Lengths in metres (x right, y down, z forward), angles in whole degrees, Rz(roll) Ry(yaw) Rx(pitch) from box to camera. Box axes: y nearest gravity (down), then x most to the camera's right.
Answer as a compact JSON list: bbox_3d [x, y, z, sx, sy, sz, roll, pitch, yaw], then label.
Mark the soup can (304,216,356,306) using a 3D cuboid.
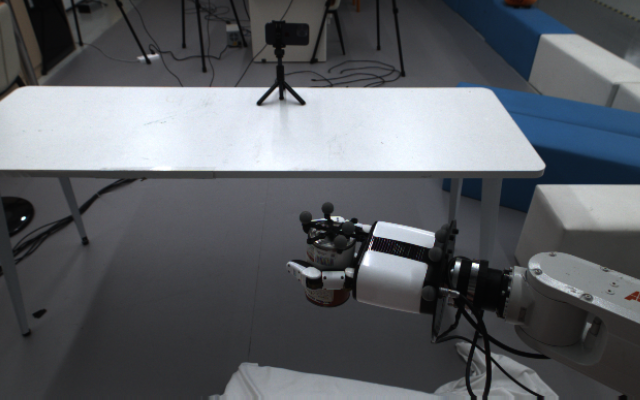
[{"bbox_3d":[0.015,0.090,0.672,0.067,0.101,0.067,3,30,-2],"label":"soup can"}]
